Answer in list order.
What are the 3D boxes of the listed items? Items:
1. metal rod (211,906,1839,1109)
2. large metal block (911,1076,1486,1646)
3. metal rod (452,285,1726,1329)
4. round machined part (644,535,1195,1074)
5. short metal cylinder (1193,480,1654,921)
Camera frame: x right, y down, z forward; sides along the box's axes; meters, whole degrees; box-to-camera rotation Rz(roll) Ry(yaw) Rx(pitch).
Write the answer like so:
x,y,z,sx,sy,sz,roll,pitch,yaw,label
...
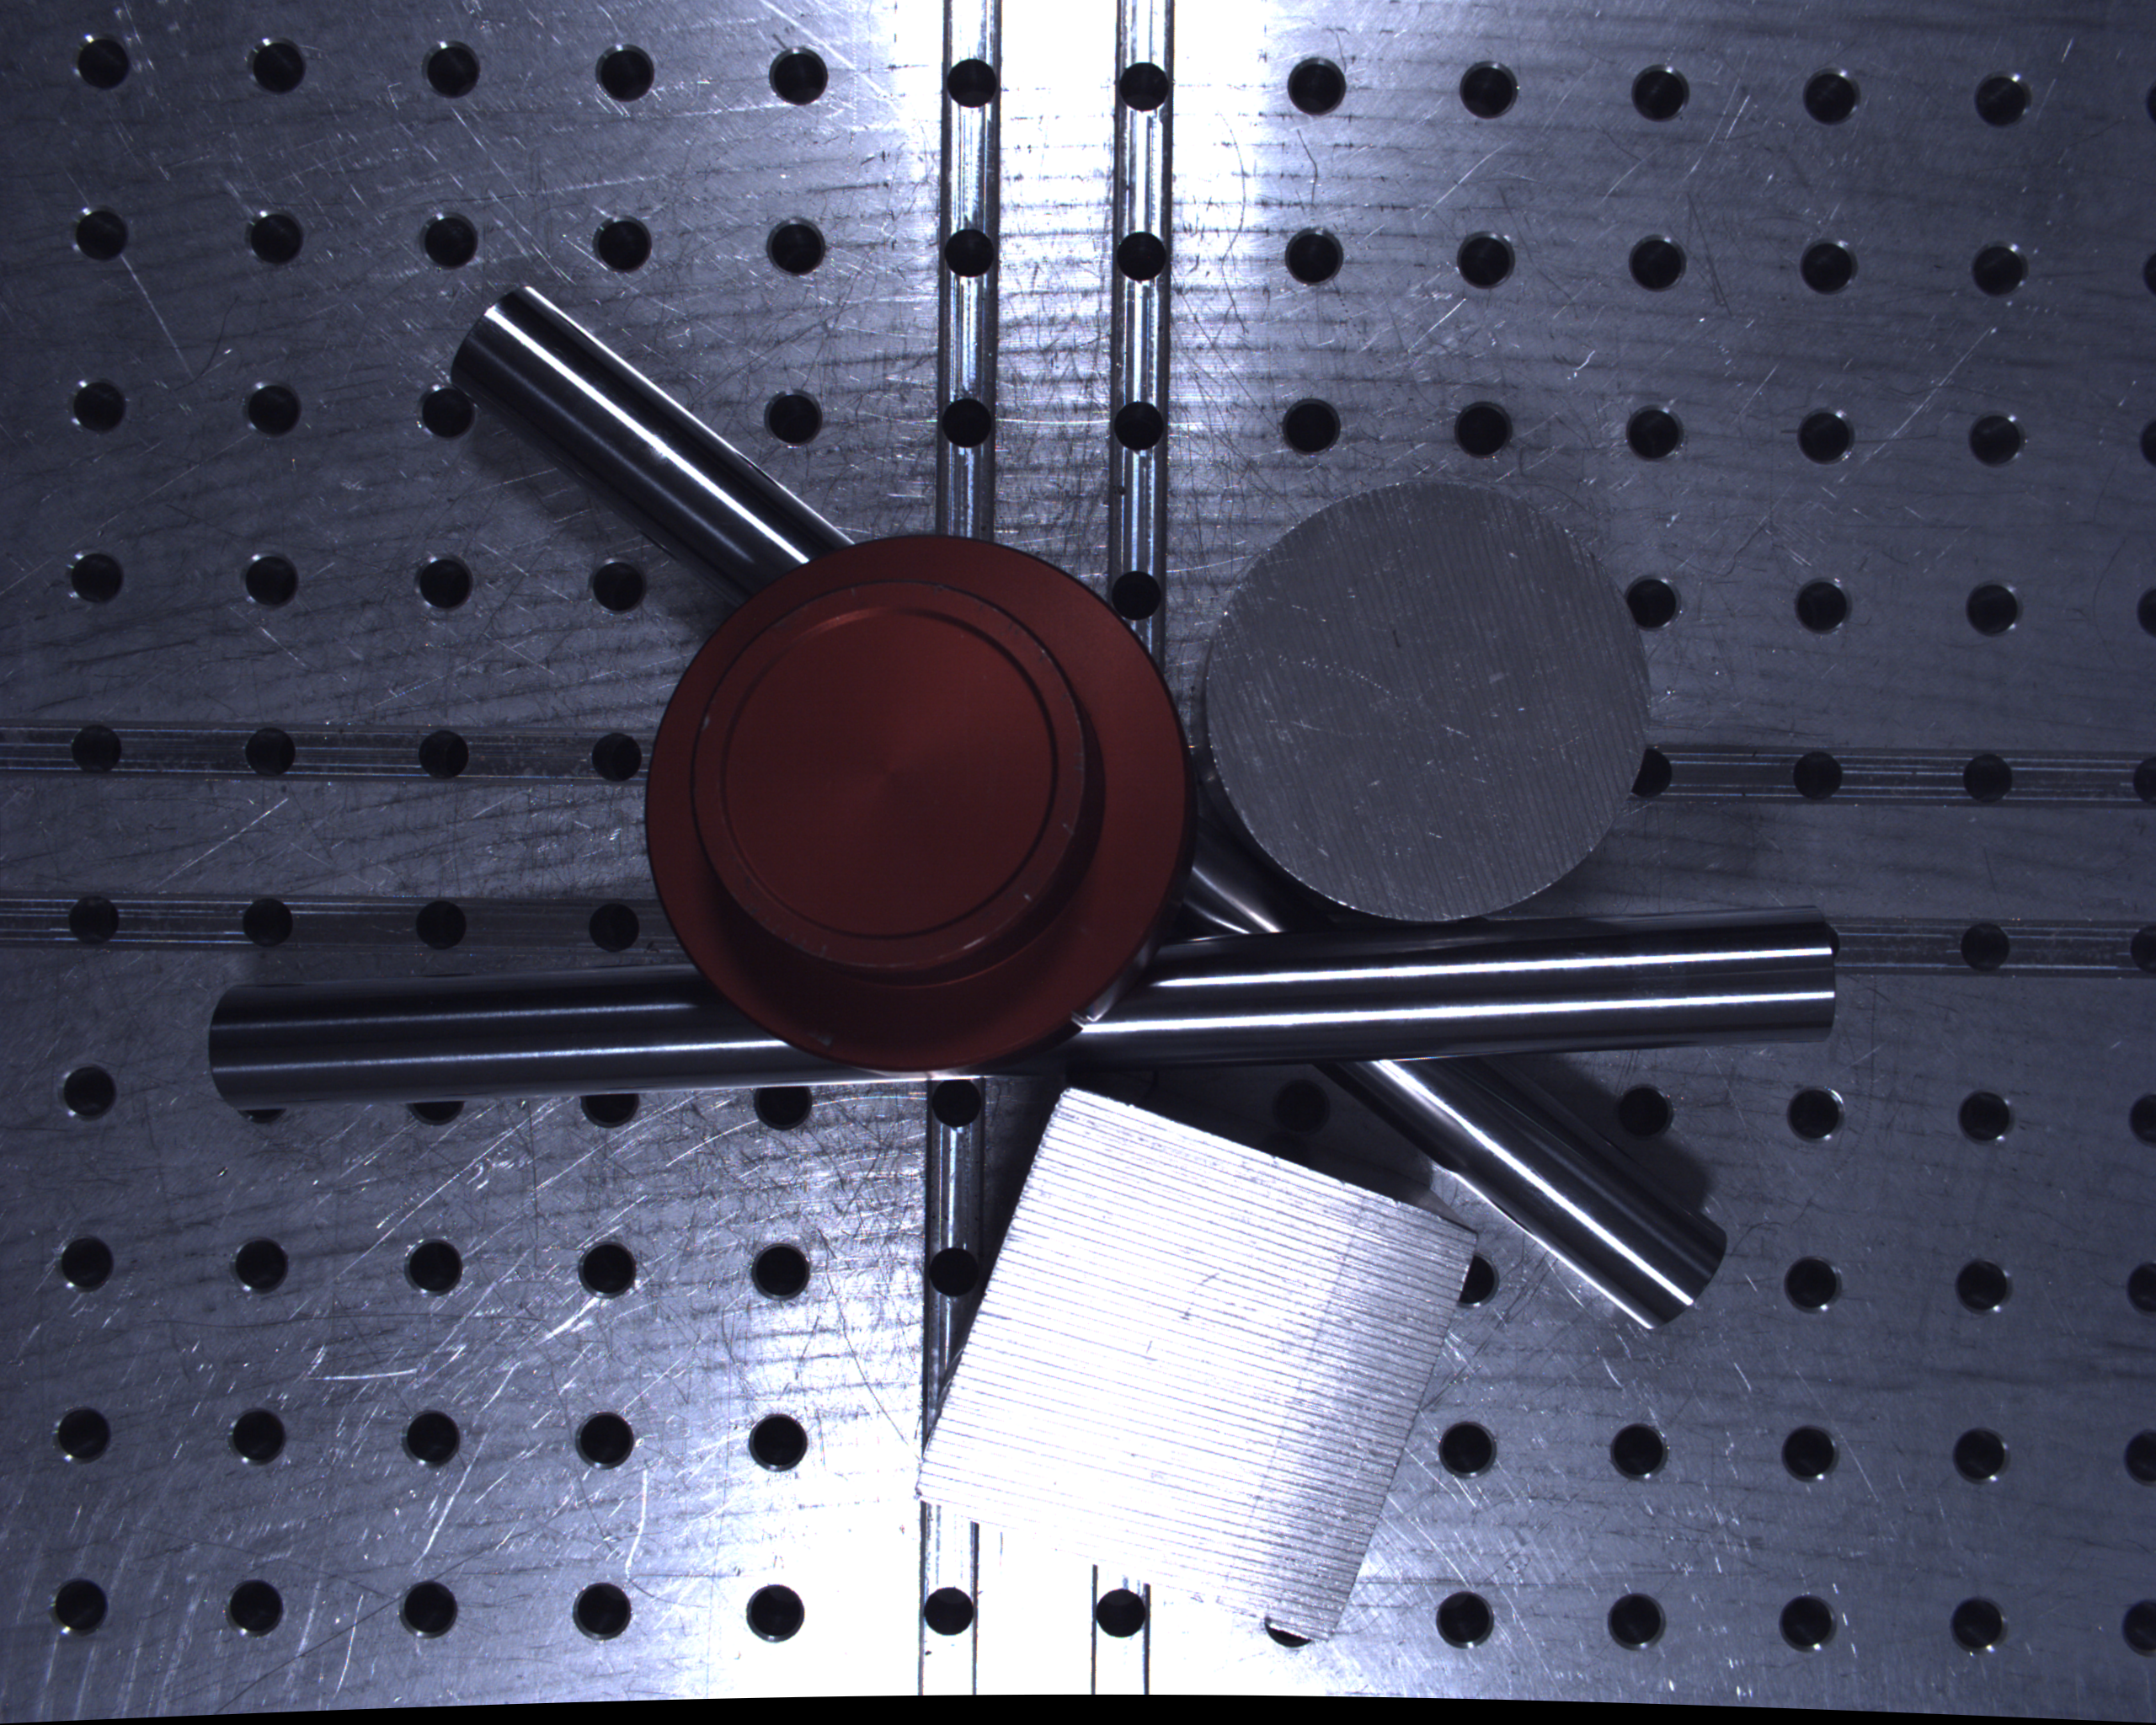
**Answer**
x,y,z,sx,sy,sz,roll,pitch,yaw,label
-0.015,0.028,0.395,0.302,0.025,0.025,-3,90,7,metal rod
0.022,0.089,0.399,0.080,0.050,0.080,20,90,-1,large metal block
0.003,-0.011,0.414,0.300,0.025,0.025,38,90,-1,metal rod
-0.029,-0.011,0.371,0.099,0.042,0.097,-1,81,5,round machined part
0.064,-0.029,0.401,0.081,0.050,0.079,0,90,-1,short metal cylinder
